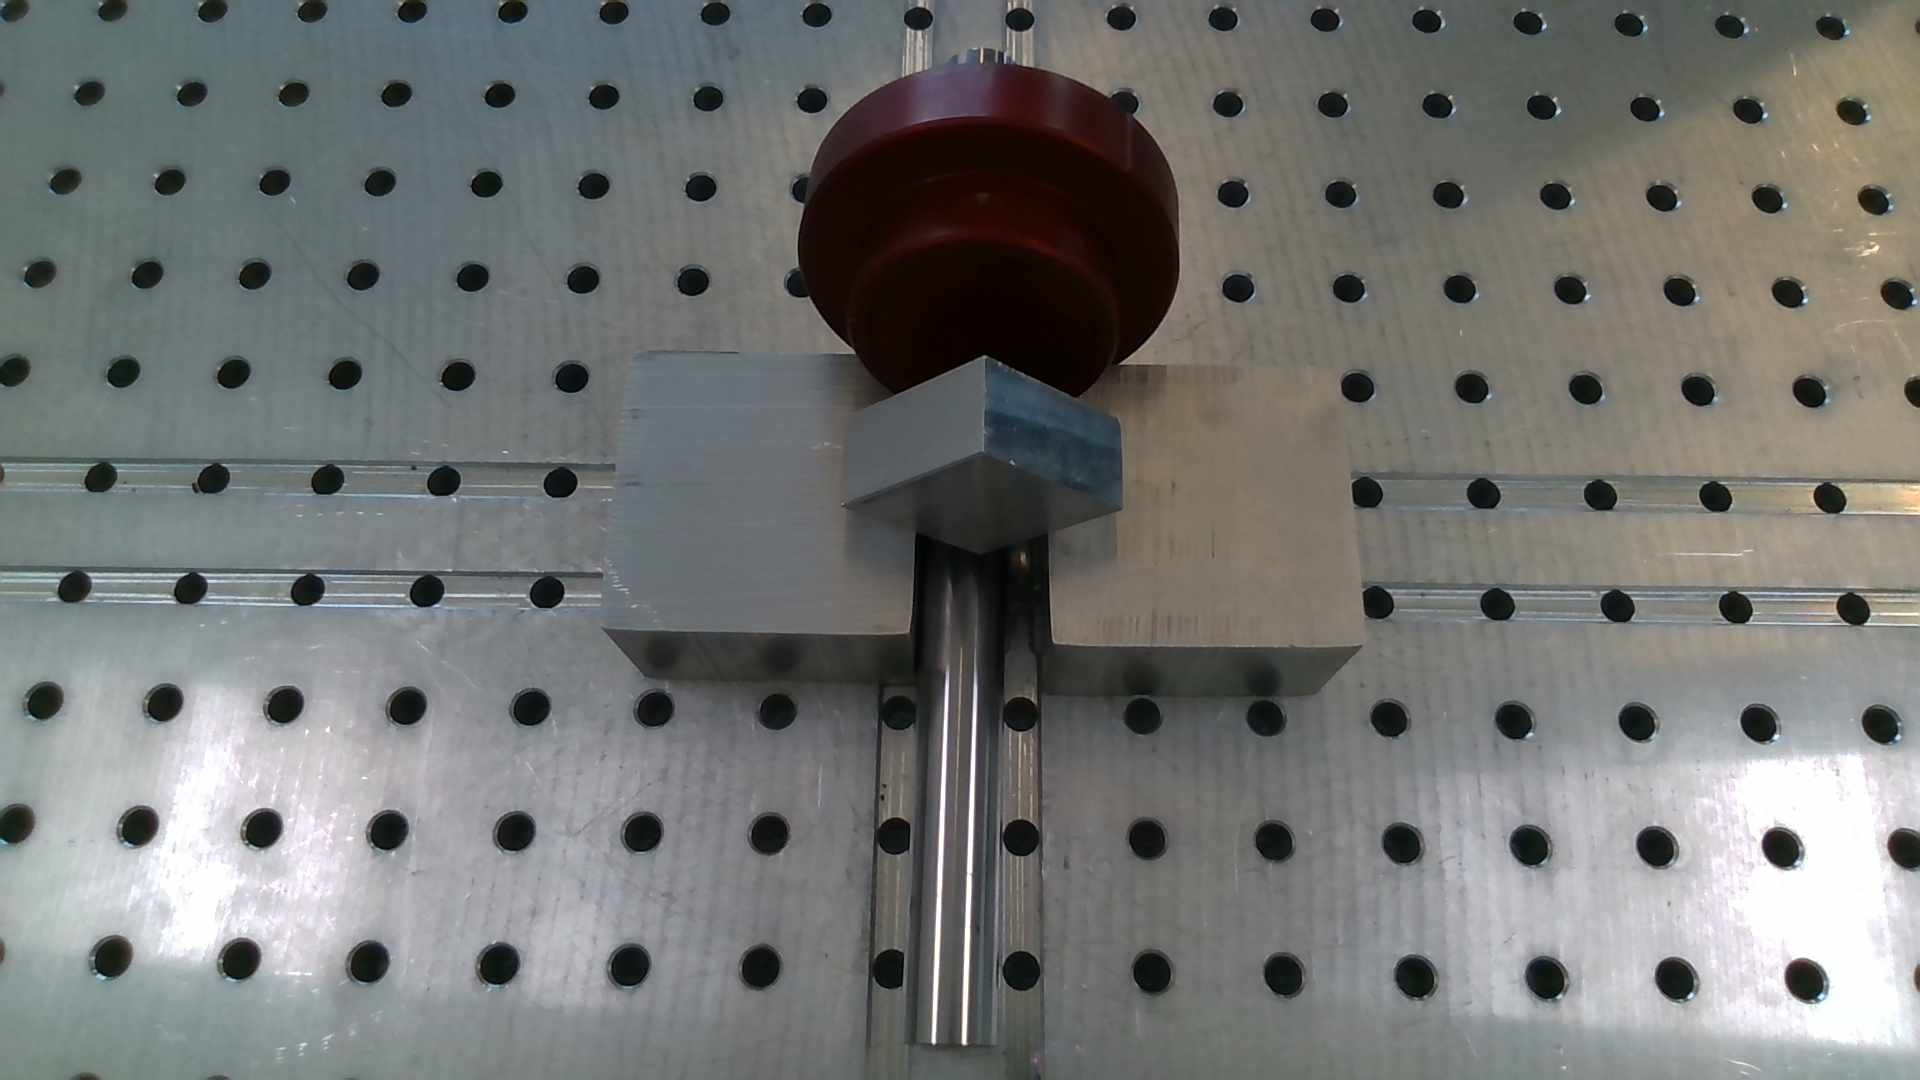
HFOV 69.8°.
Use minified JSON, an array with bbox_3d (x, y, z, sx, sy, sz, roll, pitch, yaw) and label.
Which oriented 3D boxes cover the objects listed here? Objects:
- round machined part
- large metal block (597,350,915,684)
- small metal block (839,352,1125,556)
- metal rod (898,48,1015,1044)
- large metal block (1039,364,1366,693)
[{"bbox_3d":[0.007,-0.068,0.353,0.098,0.098,0.042,4,56,1],"label":"round machined part"},{"bbox_3d":[-0.051,-0.005,0.387,0.080,0.050,0.080,1,70,0],"label":"large metal block"},{"bbox_3d":[0.005,-0.019,0.345,0.050,0.050,0.025,19,64,-41],"label":"small metal block"},{"bbox_3d":[0.002,-0.012,0.402,0.025,0.025,0.299,2,71,1],"label":"metal rod"},{"bbox_3d":[0.063,-0.002,0.385,0.080,0.050,0.080,0,70,0],"label":"large metal block"}]
